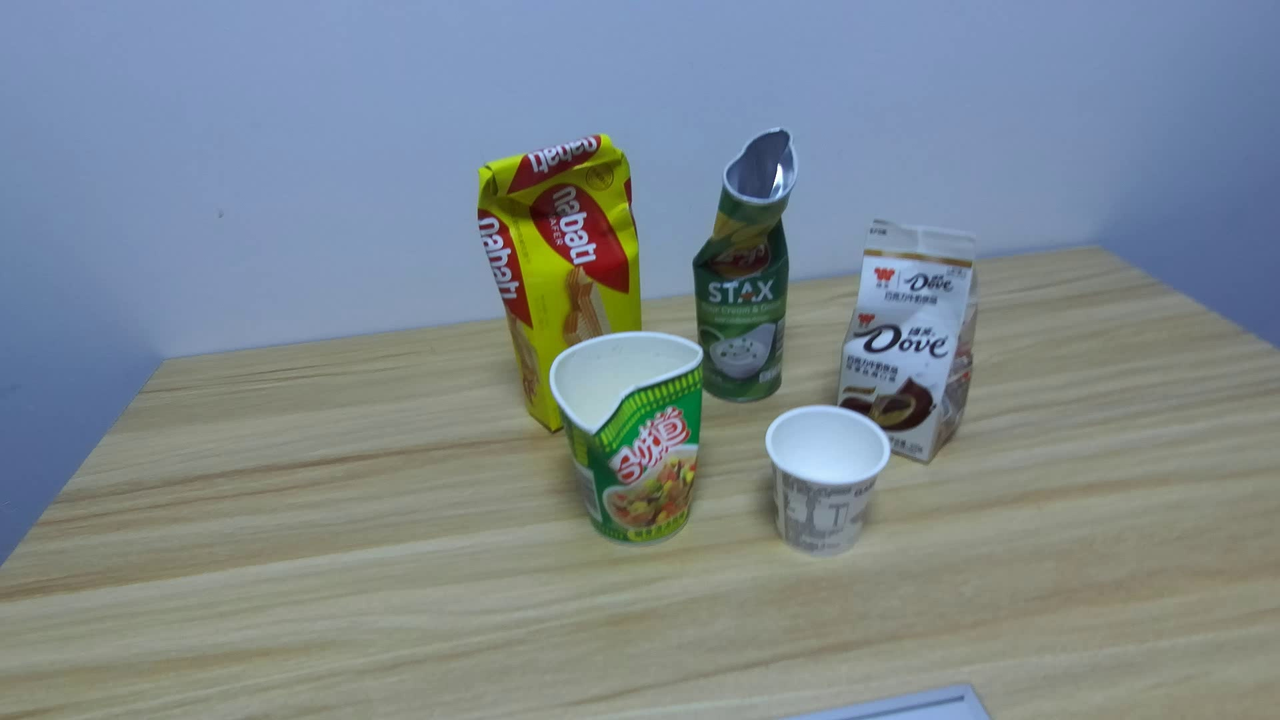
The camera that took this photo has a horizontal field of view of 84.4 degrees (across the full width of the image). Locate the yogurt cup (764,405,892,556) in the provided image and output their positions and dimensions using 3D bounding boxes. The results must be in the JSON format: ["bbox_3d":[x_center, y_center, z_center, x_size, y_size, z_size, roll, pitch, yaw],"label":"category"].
[{"bbox_3d":[0.112,0.076,0.431,0.072,0.068,0.072,-3,34,2],"label":"yogurt cup"}]

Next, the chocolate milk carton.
[{"bbox_3d":[0.190,-0.018,0.489,0.084,0.155,0.073,20,40,31],"label":"chocolate milk carton"}]

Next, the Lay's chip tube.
[{"bbox_3d":[0.082,-0.060,0.528,0.079,0.199,0.070,-19,43,-18],"label":"Lay's chip tube"}]

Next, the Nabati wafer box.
[{"bbox_3d":[-0.050,-0.052,0.522,0.113,0.205,0.042,-24,35,-27],"label":"Nabati wafer box"}]

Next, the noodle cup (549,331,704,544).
[{"bbox_3d":[-0.001,0.050,0.444,0.094,0.109,0.086,-15,34,-15],"label":"noodle cup"}]
